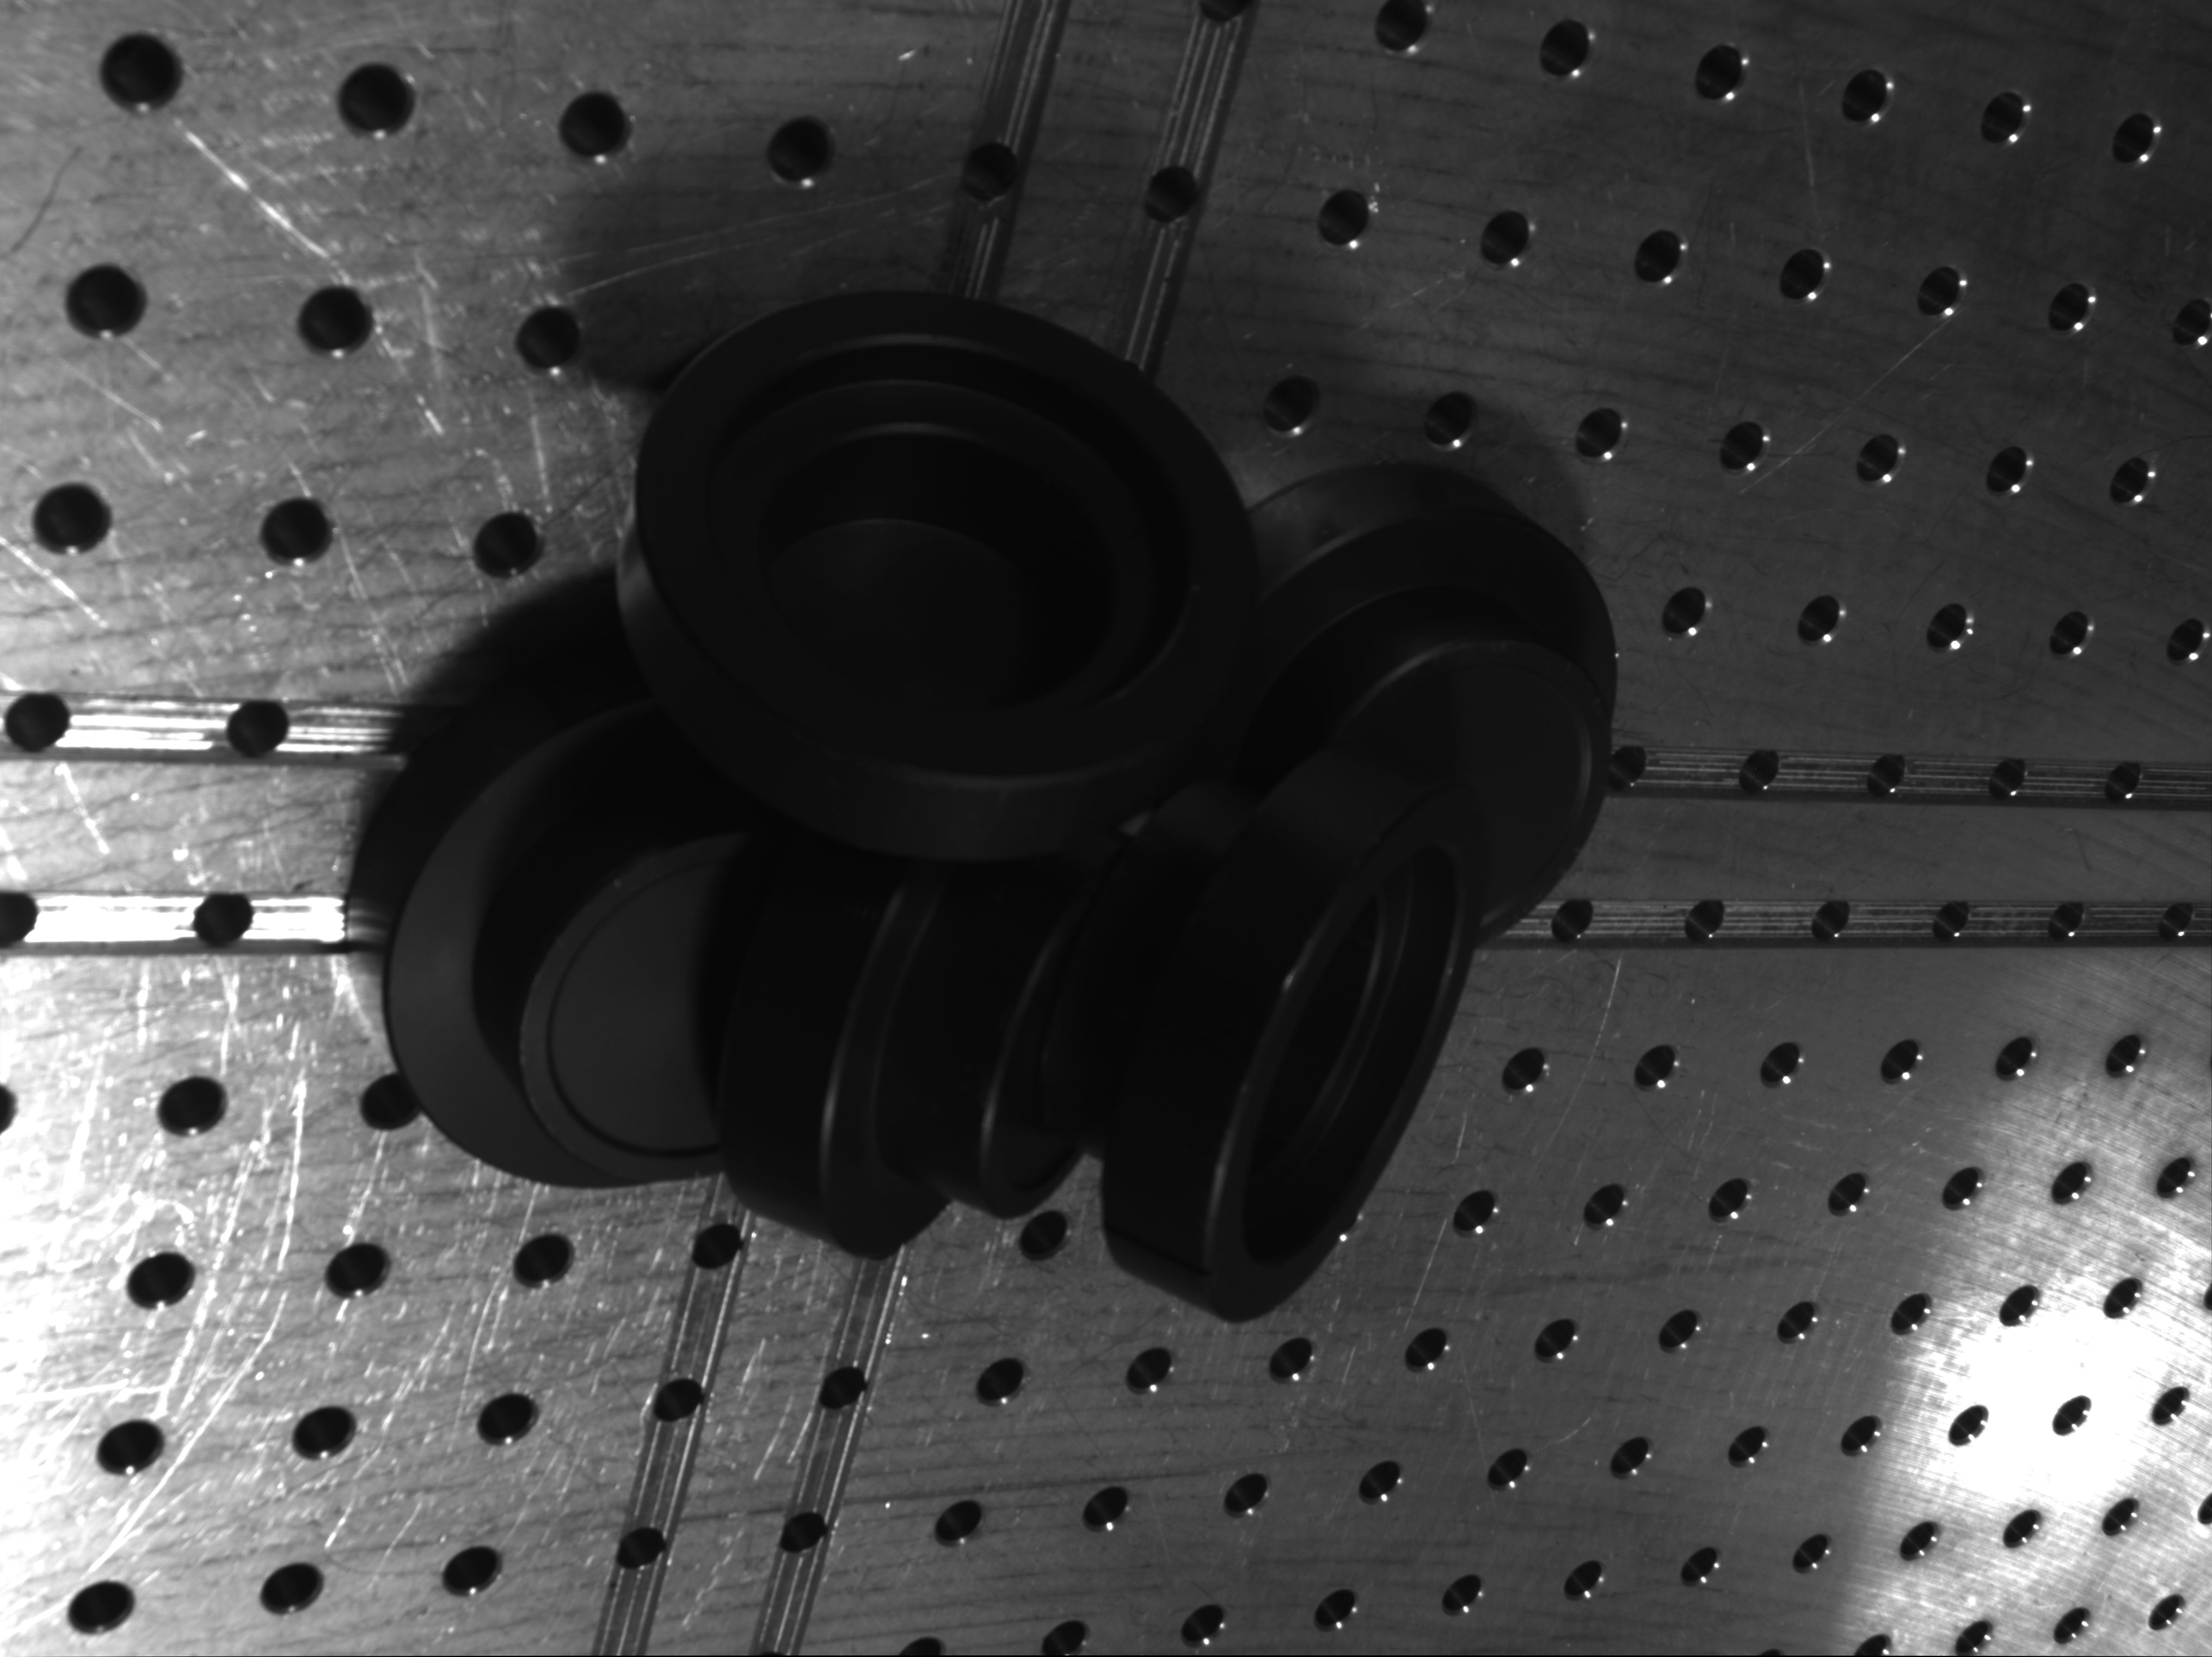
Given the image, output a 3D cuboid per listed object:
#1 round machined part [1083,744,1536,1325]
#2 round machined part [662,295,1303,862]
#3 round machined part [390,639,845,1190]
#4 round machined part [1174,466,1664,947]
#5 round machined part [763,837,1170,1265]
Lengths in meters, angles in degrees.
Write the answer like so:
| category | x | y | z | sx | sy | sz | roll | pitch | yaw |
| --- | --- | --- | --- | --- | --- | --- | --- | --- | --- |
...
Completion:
| category | x | y | z | sx | sy | sz | roll | pitch | yaw |
| --- | --- | --- | --- | --- | --- | --- | --- | --- | --- |
| round machined part | 0.032 | 0.031 | 0.617 | 0.098 | 0.042 | 0.098 | -49 | 152 | -36 |
| round machined part | -0.021 | -0.034 | 0.579 | 0.098 | 0.098 | 0.042 | -12 | 149 | -24 |
| round machined part | -0.067 | 0.020 | 0.616 | 0.098 | 0.042 | 0.098 | -15 | 125 | -22 |
| round machined part | 0.061 | -0.013 | 0.670 | 0.098 | 0.042 | 0.098 | -15 | 125 | -22 |
| round machined part | -0.015 | 0.029 | 0.621 | 0.098 | 0.042 | 0.098 | -53 | 155 | -39 |
